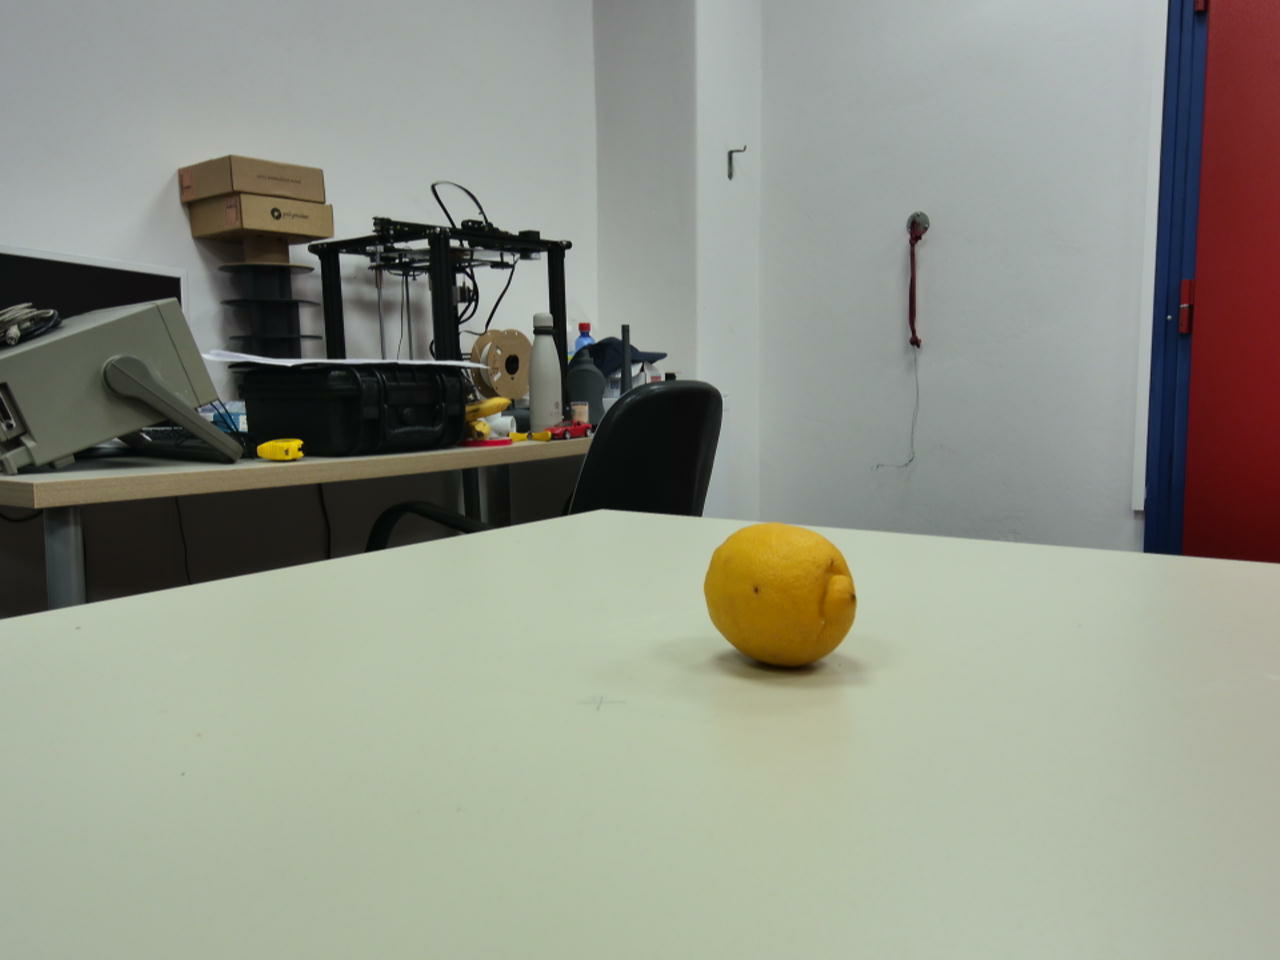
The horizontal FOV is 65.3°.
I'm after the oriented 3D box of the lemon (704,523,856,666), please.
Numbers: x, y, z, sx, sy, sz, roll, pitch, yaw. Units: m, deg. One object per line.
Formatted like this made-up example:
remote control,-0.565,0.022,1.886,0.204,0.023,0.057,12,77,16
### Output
lemon,0.060,0.049,0.432,0.061,0.059,0.067,0,3,-11
